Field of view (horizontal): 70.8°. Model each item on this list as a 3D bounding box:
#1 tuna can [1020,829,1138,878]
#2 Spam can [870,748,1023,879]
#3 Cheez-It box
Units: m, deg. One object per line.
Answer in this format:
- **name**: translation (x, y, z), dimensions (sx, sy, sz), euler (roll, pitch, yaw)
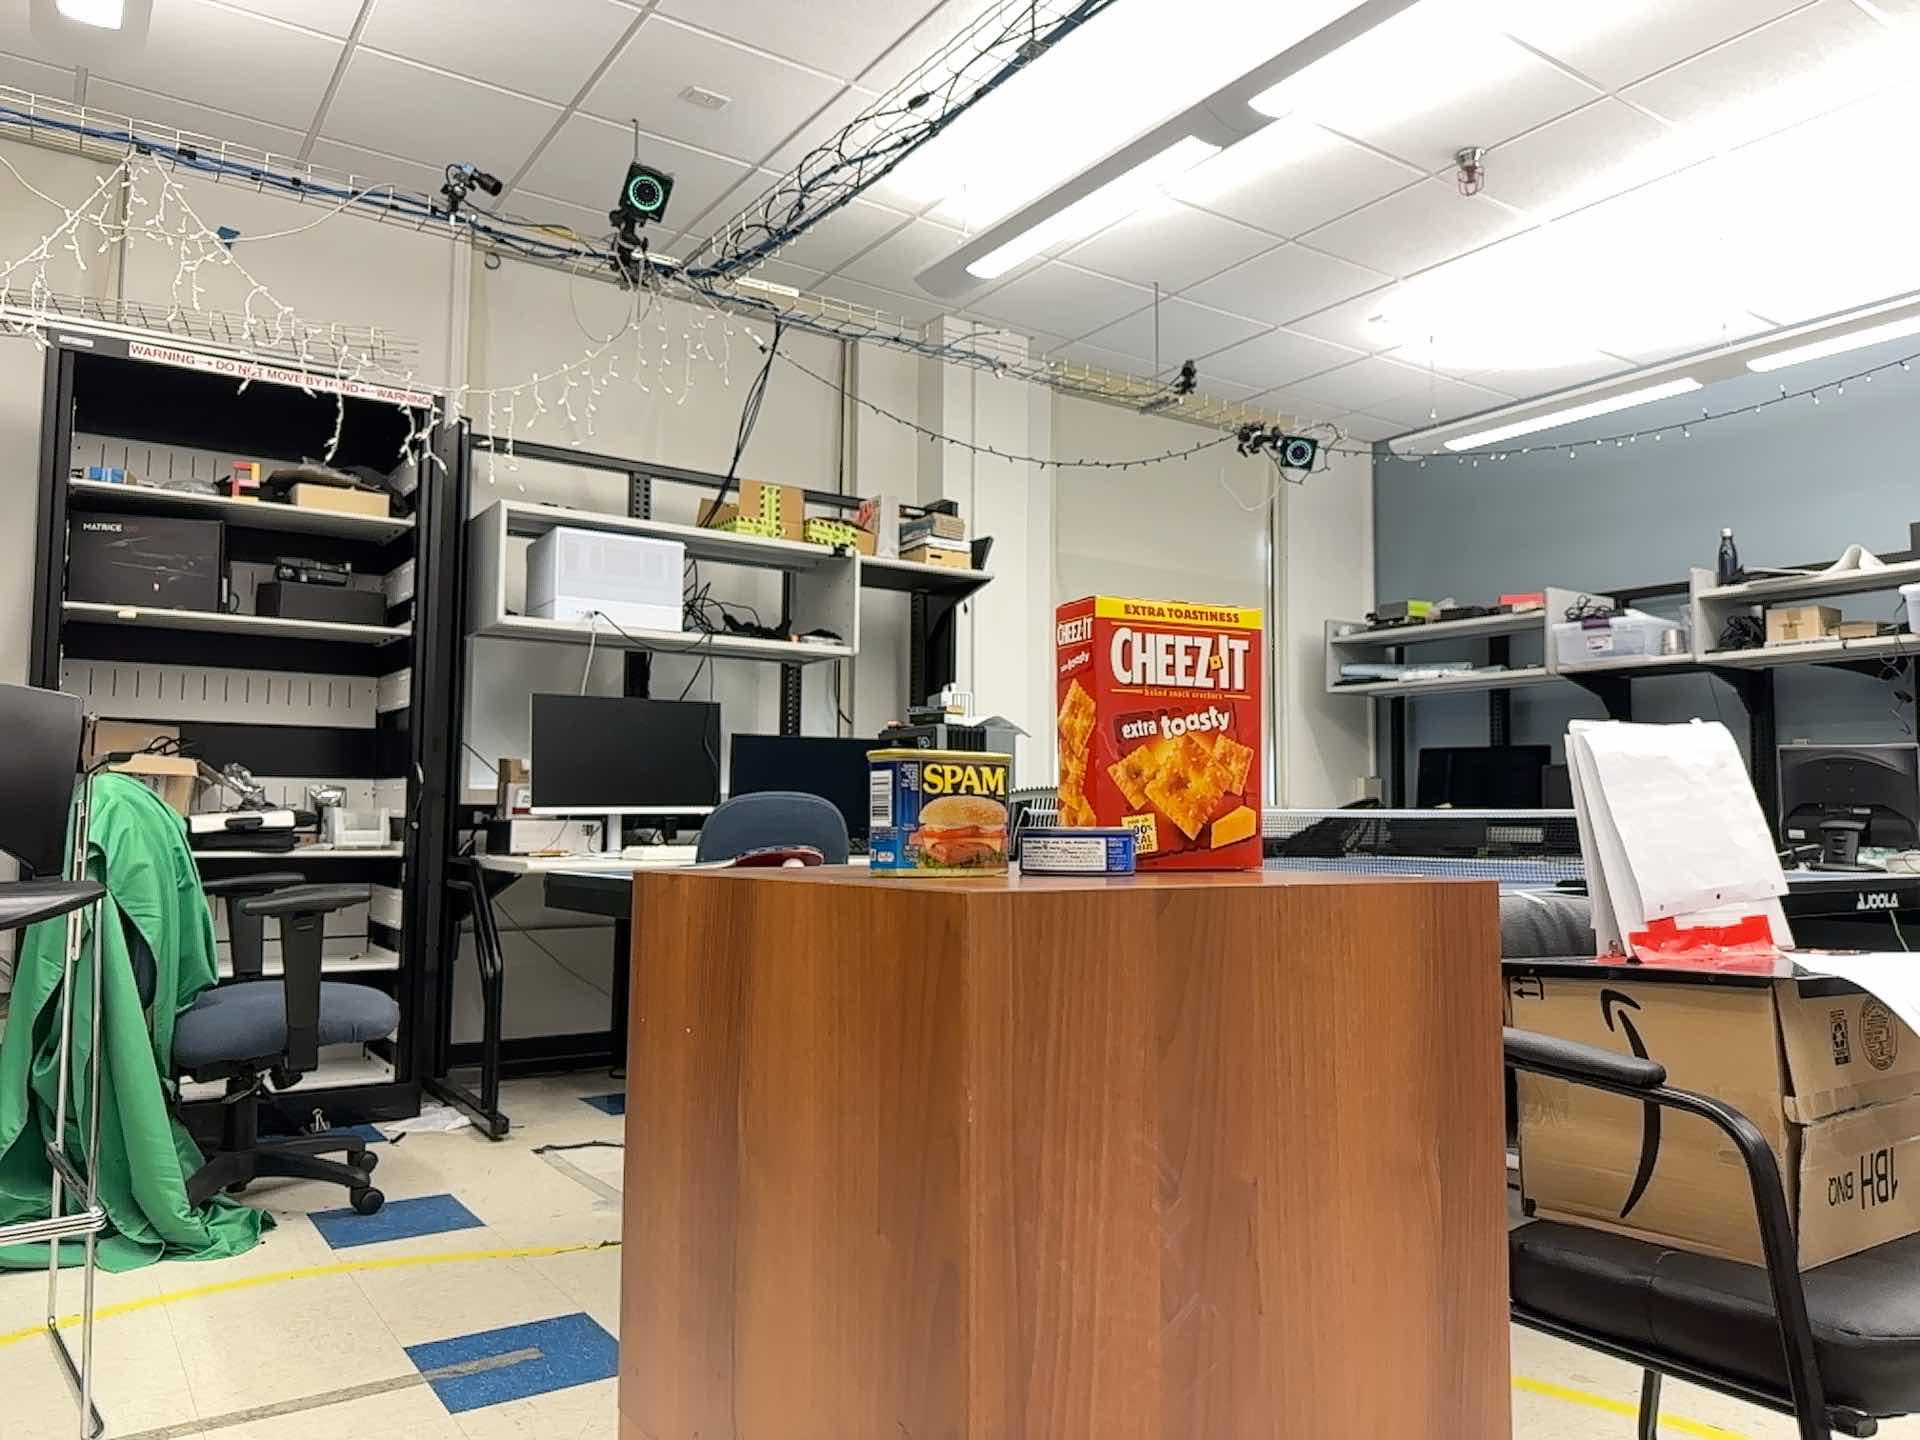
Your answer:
- **tuna can**: translation (0.086, 0.097, 0.978), dimensions (0.083, 0.034, 0.083), euler (0, -6, 0)
- **Spam can**: translation (-0.010, 0.065, 0.923), dimensions (0.100, 0.083, 0.056), euler (4, -6, -25)
- **Cheez-It box**: translation (0.164, 0.021, 1.108), dimensions (0.159, 0.214, 0.062), euler (4, -5, -28)
